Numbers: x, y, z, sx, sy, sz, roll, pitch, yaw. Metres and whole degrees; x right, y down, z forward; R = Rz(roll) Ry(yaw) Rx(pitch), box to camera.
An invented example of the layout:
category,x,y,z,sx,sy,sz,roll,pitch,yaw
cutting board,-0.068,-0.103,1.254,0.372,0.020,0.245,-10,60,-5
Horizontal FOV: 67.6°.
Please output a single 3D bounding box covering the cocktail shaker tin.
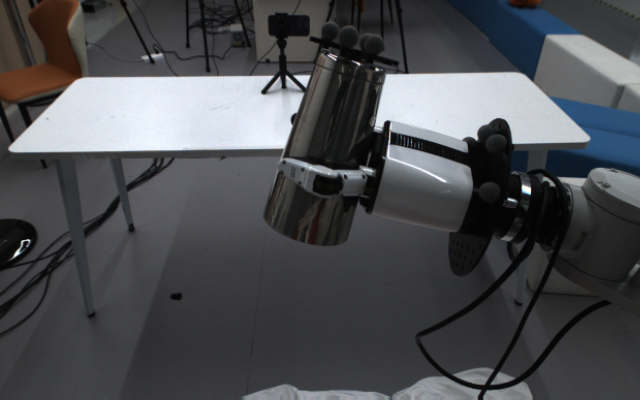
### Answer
category,x,y,z,sx,sy,sz,roll,pitch,yaw
cocktail shaker tin,0.010,-0.051,0.476,0.093,0.170,0.093,15,19,-5
